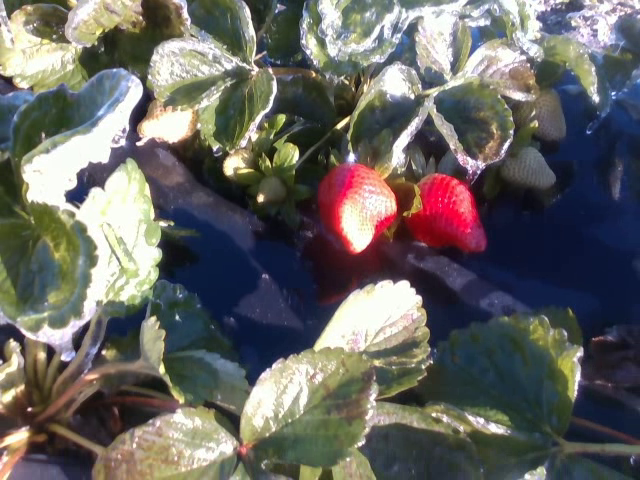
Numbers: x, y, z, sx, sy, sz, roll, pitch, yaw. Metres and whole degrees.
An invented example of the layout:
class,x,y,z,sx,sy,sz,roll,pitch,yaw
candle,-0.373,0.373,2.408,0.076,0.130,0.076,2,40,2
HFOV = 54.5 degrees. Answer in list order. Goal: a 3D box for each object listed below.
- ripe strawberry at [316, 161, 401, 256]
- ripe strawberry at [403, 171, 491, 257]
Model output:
class,x,y,z,sx,sy,sz,roll,pitch,yaw
ripe strawberry,0.025,-0.016,0.356,0.052,0.070,0.040,24,-38,-10
ripe strawberry,0.078,-0.019,0.361,0.043,0.059,0.040,-23,-23,-25
